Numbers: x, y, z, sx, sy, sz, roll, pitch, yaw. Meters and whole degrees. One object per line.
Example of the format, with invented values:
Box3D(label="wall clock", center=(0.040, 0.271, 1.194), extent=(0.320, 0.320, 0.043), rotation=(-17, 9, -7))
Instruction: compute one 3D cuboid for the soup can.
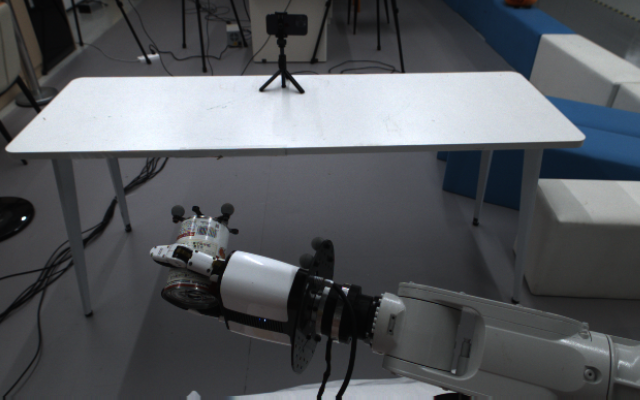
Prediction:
Box3D(label="soup can", center=(-0.155, 0.080, 0.616), extent=(0.067, 0.067, 0.101), rotation=(3, 56, 1))
